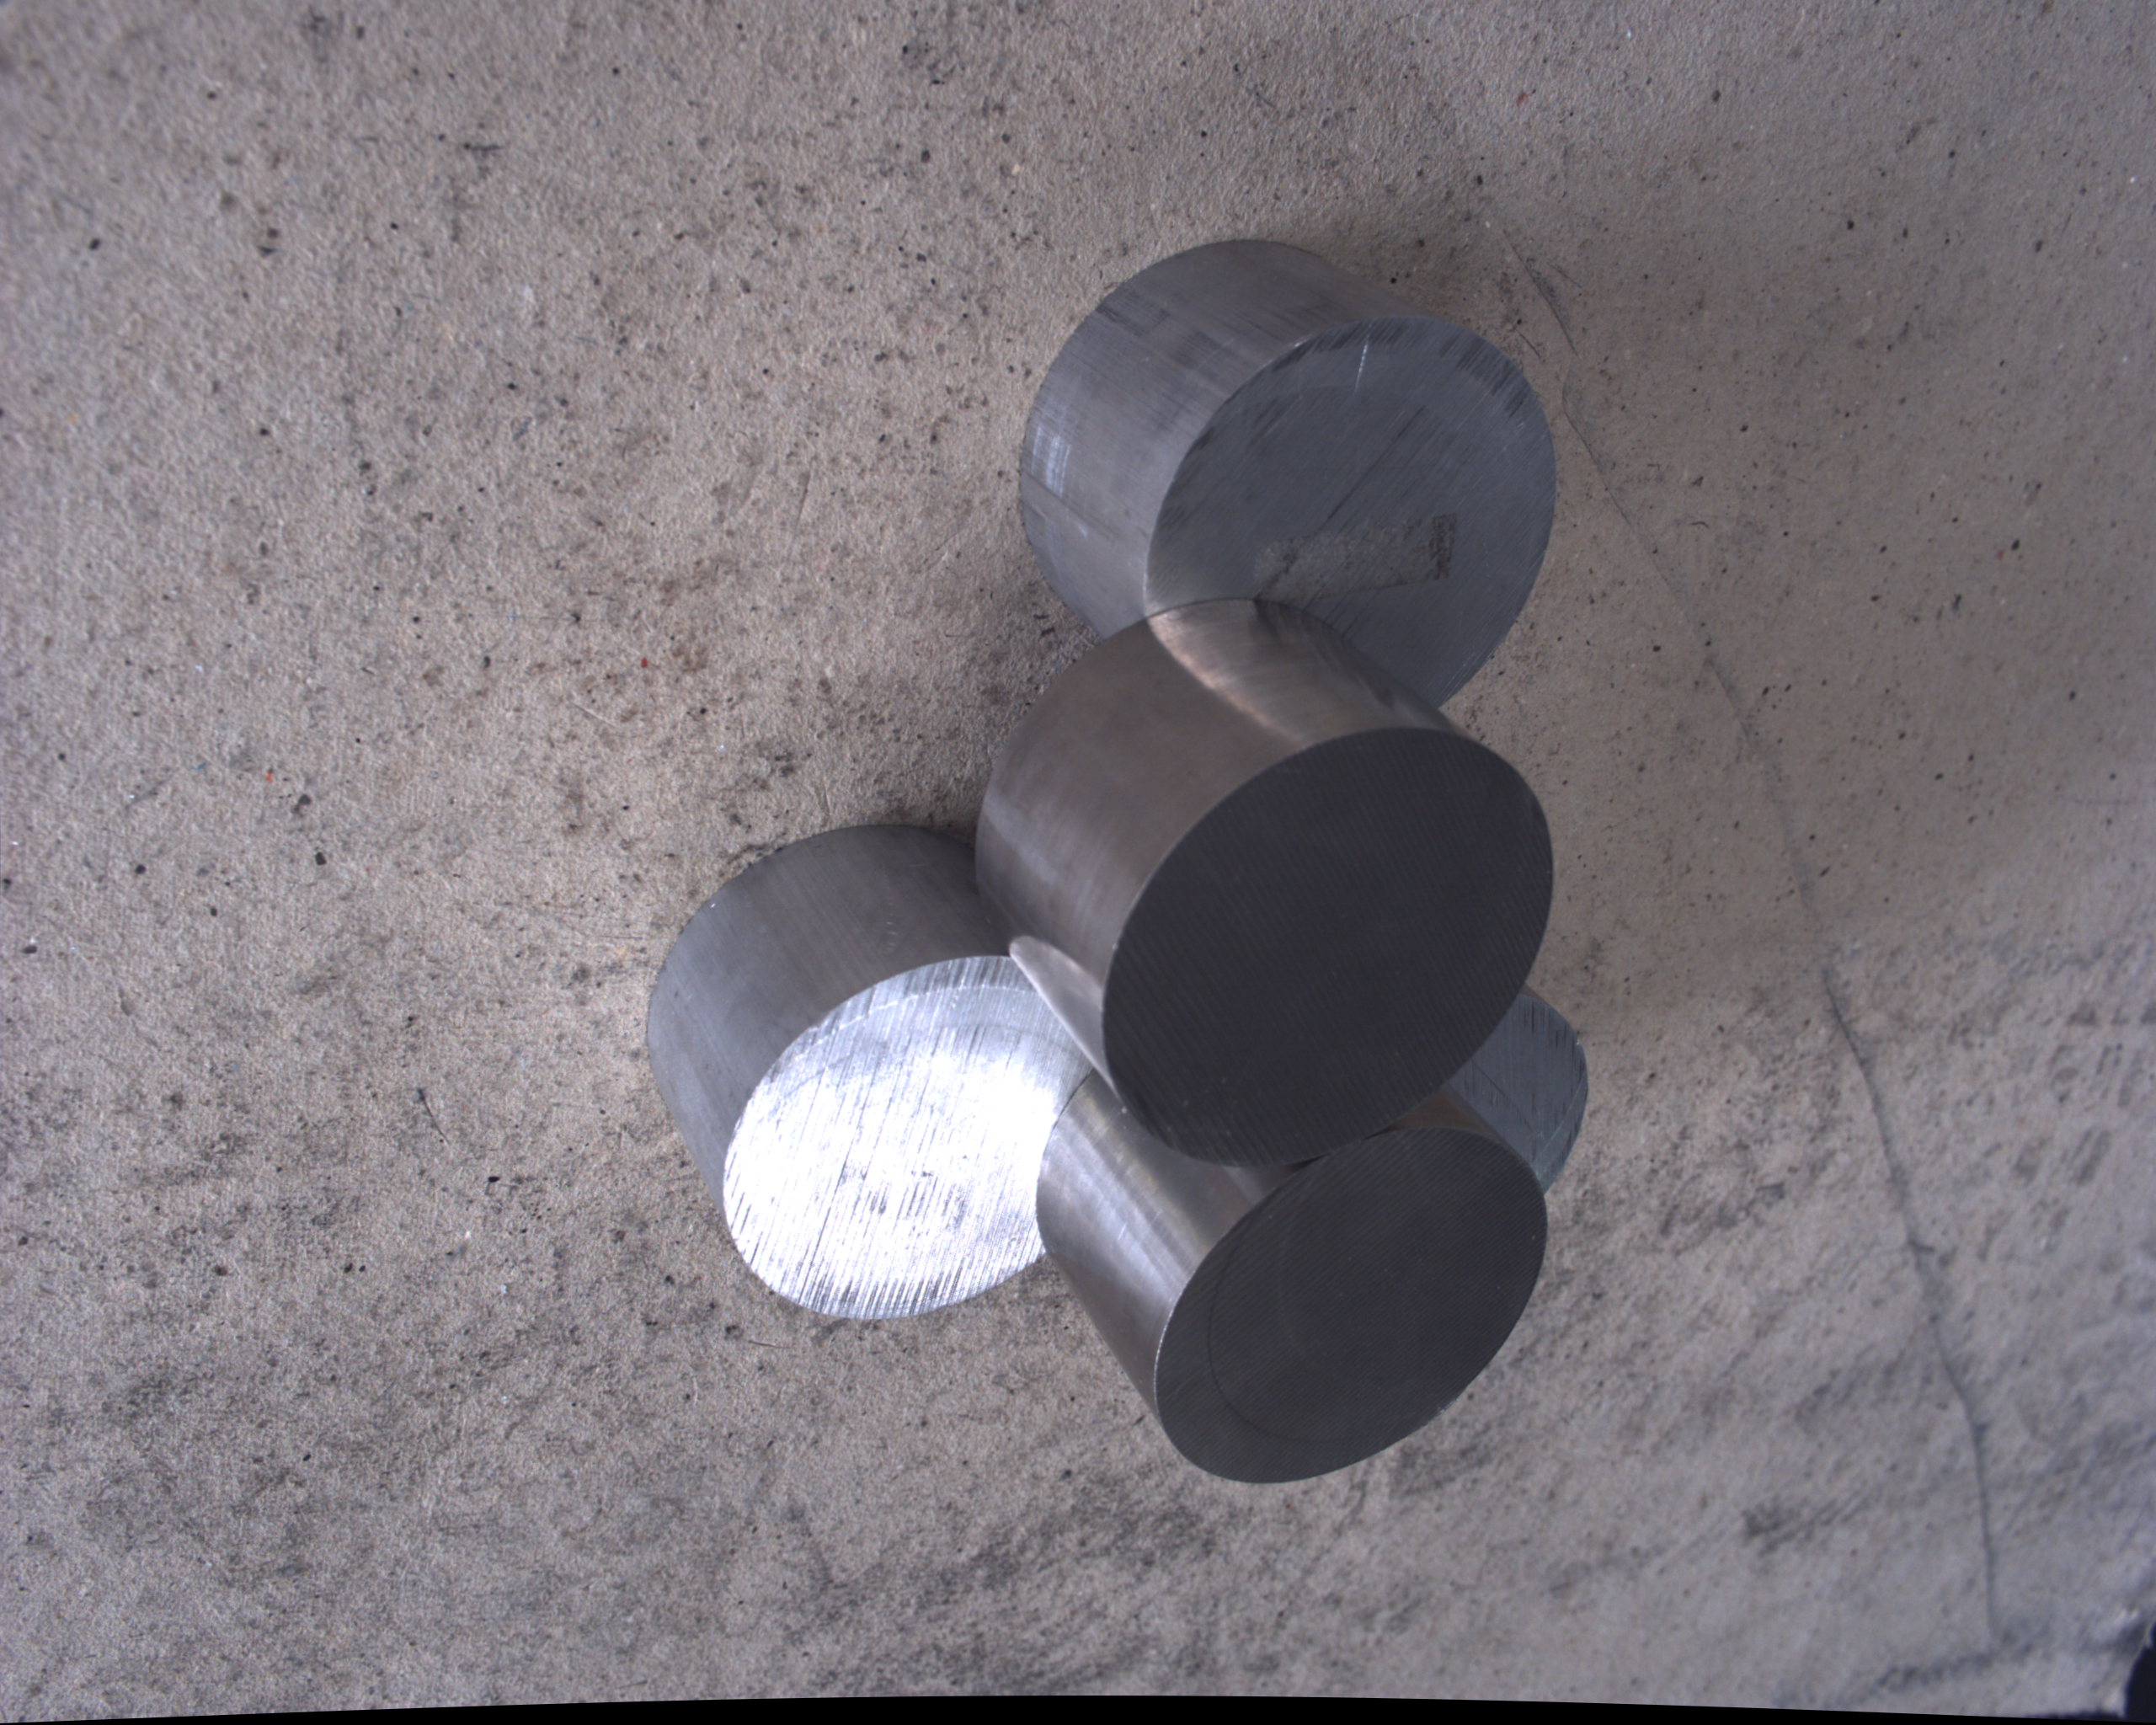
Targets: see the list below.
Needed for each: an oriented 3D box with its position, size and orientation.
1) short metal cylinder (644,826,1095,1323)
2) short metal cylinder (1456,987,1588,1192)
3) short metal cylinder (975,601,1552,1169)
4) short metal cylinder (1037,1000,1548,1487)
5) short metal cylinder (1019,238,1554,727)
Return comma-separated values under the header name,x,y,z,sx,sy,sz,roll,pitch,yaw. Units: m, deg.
name,x,y,z,sx,sy,sz,roll,pitch,yaw
short metal cylinder,-0.036,0.040,0.397,0.081,0.050,0.079,-14,124,-21
short metal cylinder,0.063,0.049,0.456,0.081,0.050,0.079,-14,124,-21
short metal cylinder,0.030,0.003,0.344,0.081,0.050,0.079,-14,124,-21
short metal cylinder,0.039,0.068,0.390,0.081,0.050,0.079,-14,124,-21
short metal cylinder,0.036,-0.065,0.372,0.081,0.050,0.079,-14,124,-21
